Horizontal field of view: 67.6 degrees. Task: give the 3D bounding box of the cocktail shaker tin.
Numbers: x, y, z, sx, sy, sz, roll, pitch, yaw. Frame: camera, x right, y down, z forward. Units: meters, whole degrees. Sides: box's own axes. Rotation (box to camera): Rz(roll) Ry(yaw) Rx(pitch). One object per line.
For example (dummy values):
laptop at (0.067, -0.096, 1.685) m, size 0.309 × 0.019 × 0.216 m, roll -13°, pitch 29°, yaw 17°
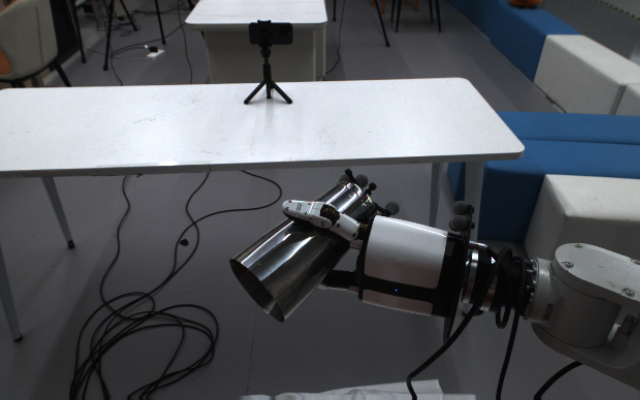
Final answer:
cocktail shaker tin at (-0.011, 0.048, 0.574) m, size 0.170 × 0.093 × 0.093 m, roll -38°, pitch 49°, yaw -24°
